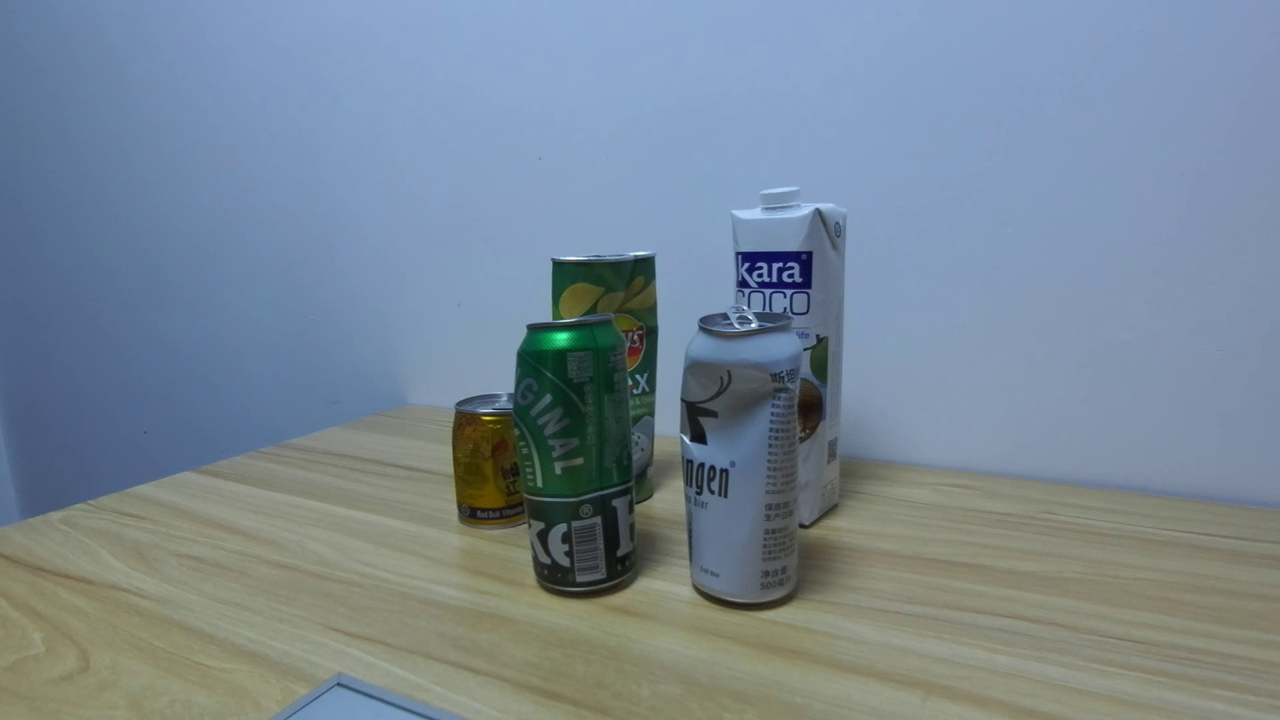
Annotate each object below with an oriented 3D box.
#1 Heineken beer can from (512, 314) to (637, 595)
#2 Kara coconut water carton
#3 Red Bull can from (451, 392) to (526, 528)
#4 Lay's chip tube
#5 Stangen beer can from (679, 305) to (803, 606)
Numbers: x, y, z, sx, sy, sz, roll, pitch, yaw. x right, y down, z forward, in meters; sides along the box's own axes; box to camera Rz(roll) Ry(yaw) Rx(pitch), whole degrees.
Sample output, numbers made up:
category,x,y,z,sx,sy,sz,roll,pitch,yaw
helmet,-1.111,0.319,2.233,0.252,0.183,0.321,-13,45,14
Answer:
category,x,y,z,sx,sy,sz,roll,pitch,yaw
Heineken beer can,-0.038,0.058,0.445,0.068,0.168,0.069,-4,7,2
Kara coconut water carton,0.112,-0.004,0.538,0.076,0.245,0.075,6,11,35
Red Bull can,-0.112,0.077,0.553,0.072,0.092,0.072,0,11,0
Lay's chip tube,-0.024,0.016,0.579,0.069,0.199,0.075,1,10,17
Stangen beer can,0.061,0.056,0.419,0.070,0.173,0.070,-3,12,-7
